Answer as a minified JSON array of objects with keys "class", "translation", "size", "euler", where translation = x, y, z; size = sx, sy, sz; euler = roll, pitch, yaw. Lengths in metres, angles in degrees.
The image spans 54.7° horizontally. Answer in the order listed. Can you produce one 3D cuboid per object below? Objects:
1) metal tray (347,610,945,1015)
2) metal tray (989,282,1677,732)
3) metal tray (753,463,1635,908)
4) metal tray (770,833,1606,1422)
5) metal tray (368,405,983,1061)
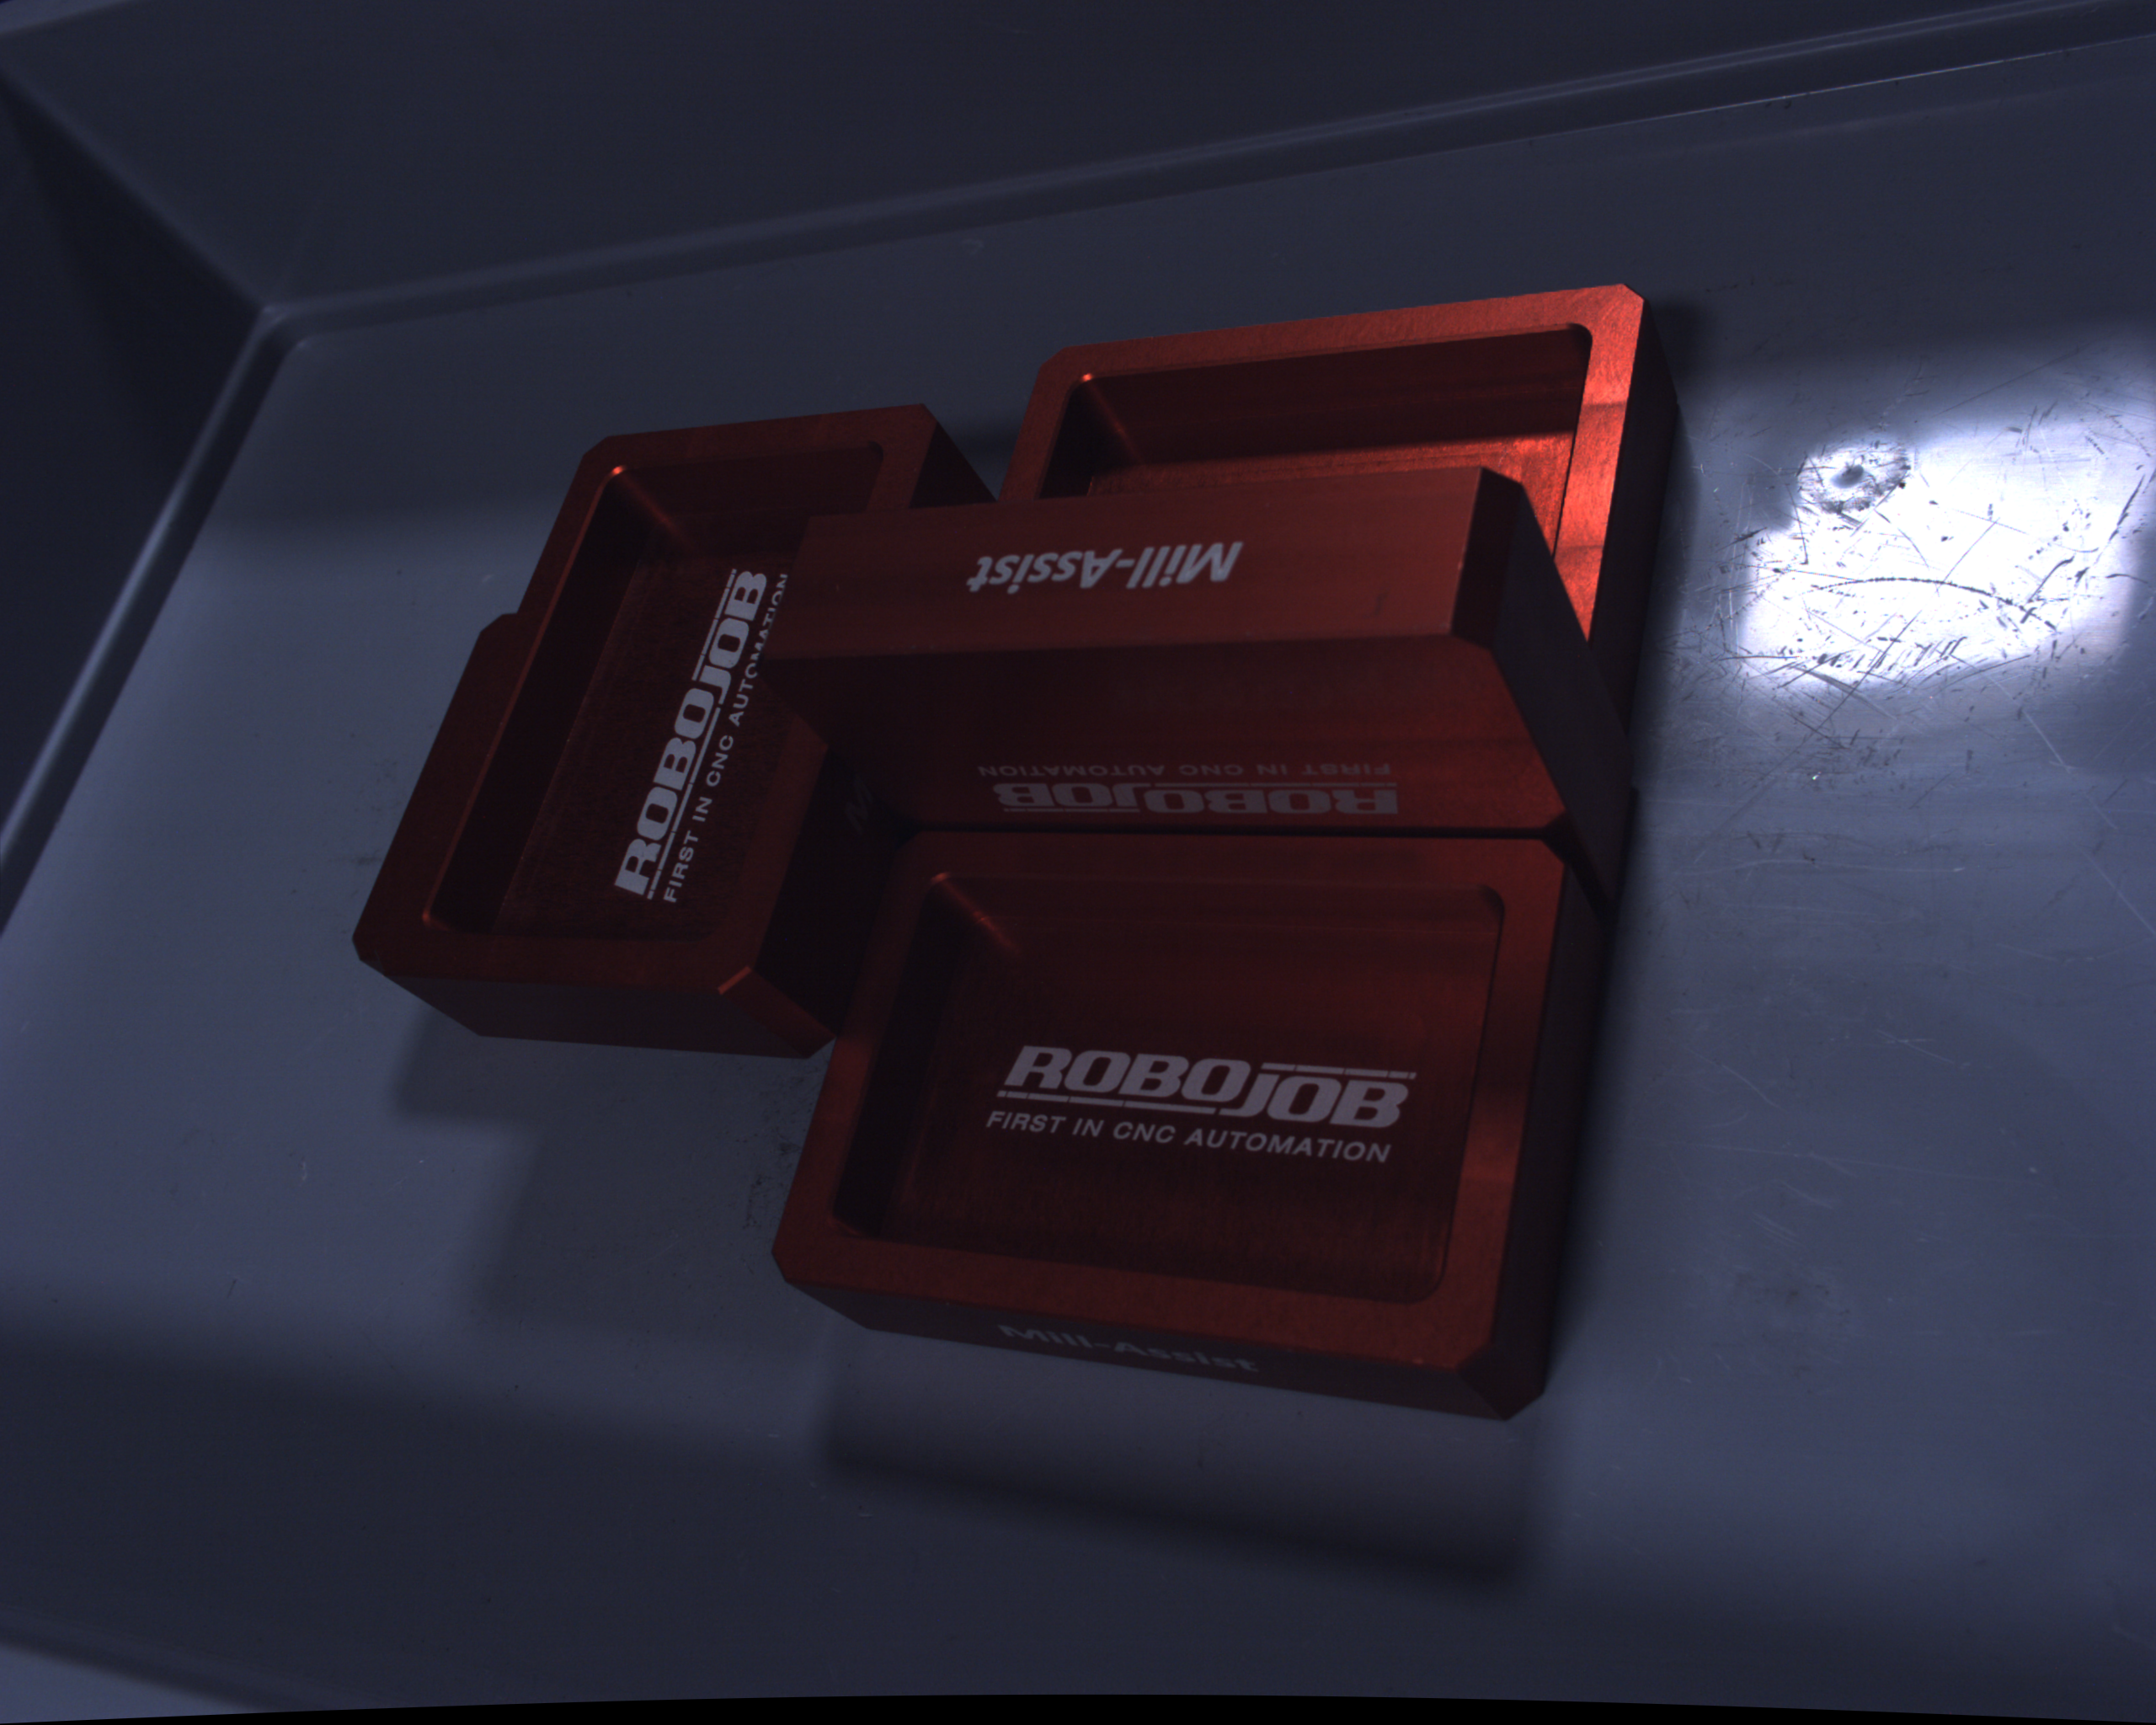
[{"class":"metal tray","translation":[-0.086,-0.012,0.449],"size":[0.130,0.030,0.090],"euler":[1,62,28]},{"class":"metal tray","translation":[0.046,-0.065,0.416],"size":[0.130,0.030,0.090],"euler":[1,62,28]},{"class":"metal tray","translation":[0.022,-0.026,0.365],"size":[0.130,0.090,0.030],"euler":[1,63,28]},{"class":"metal tray","translation":[0.019,0.041,0.364],"size":[0.130,0.030,0.090],"euler":[1,62,28]},{"class":"metal tray","translation":[-0.077,-0.028,0.417],"size":[0.090,0.030,0.130],"euler":[1,62,28]}]
